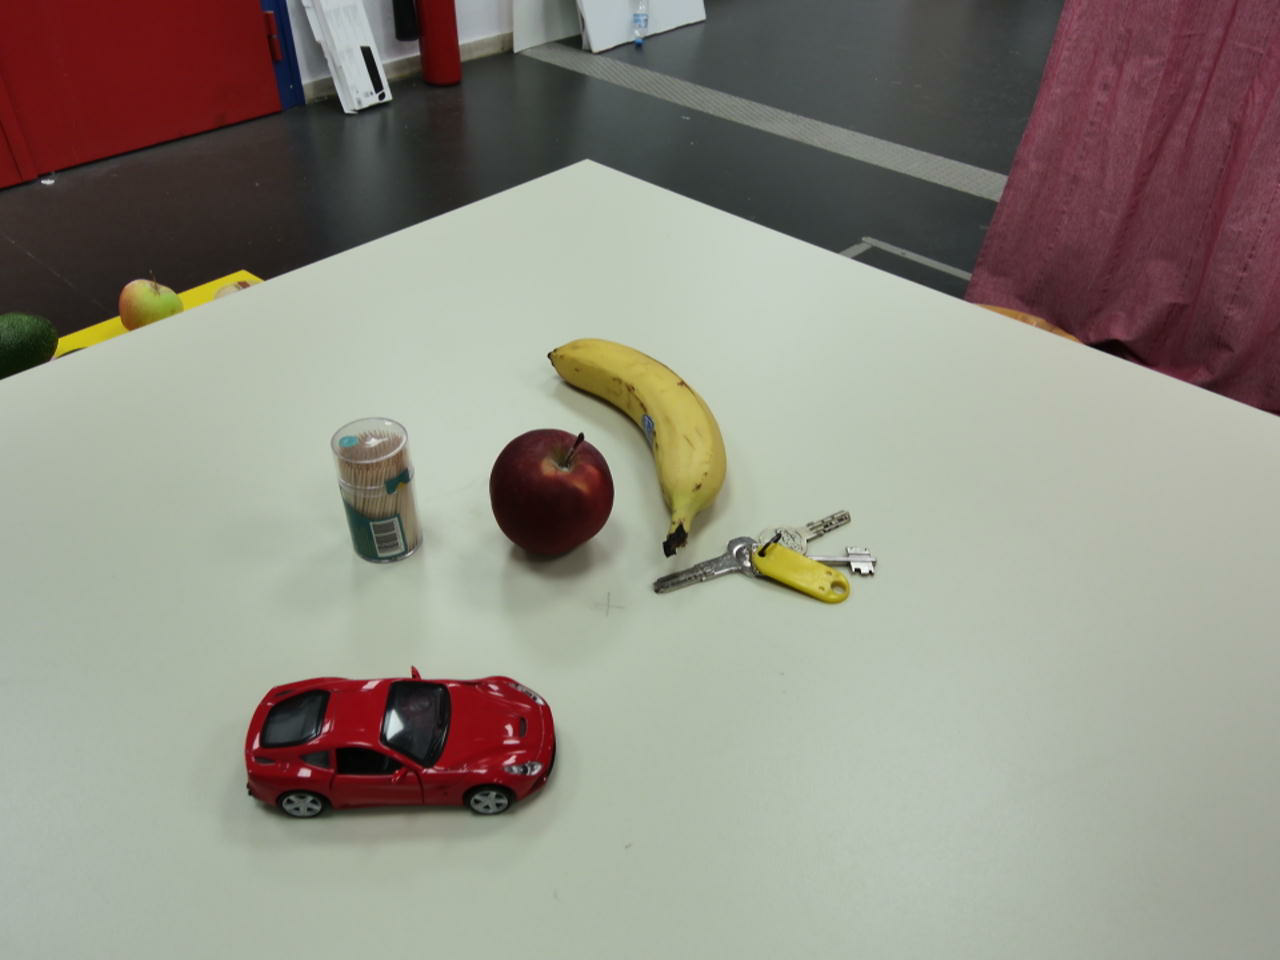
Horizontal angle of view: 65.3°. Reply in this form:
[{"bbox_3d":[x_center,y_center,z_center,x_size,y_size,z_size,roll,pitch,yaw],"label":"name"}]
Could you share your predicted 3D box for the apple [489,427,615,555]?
[{"bbox_3d":[-0.050,0.007,0.560,0.070,0.072,0.070,0,38,0],"label":"apple"}]
